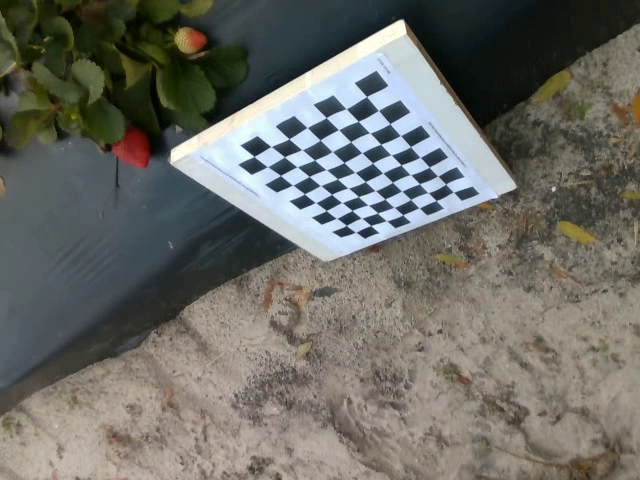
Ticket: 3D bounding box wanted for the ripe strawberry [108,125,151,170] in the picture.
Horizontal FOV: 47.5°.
[{"bbox_3d":[-0.169,-0.066,0.632,0.036,0.046,0.037,-40,-9,-22],"label":"ripe strawberry"}]
